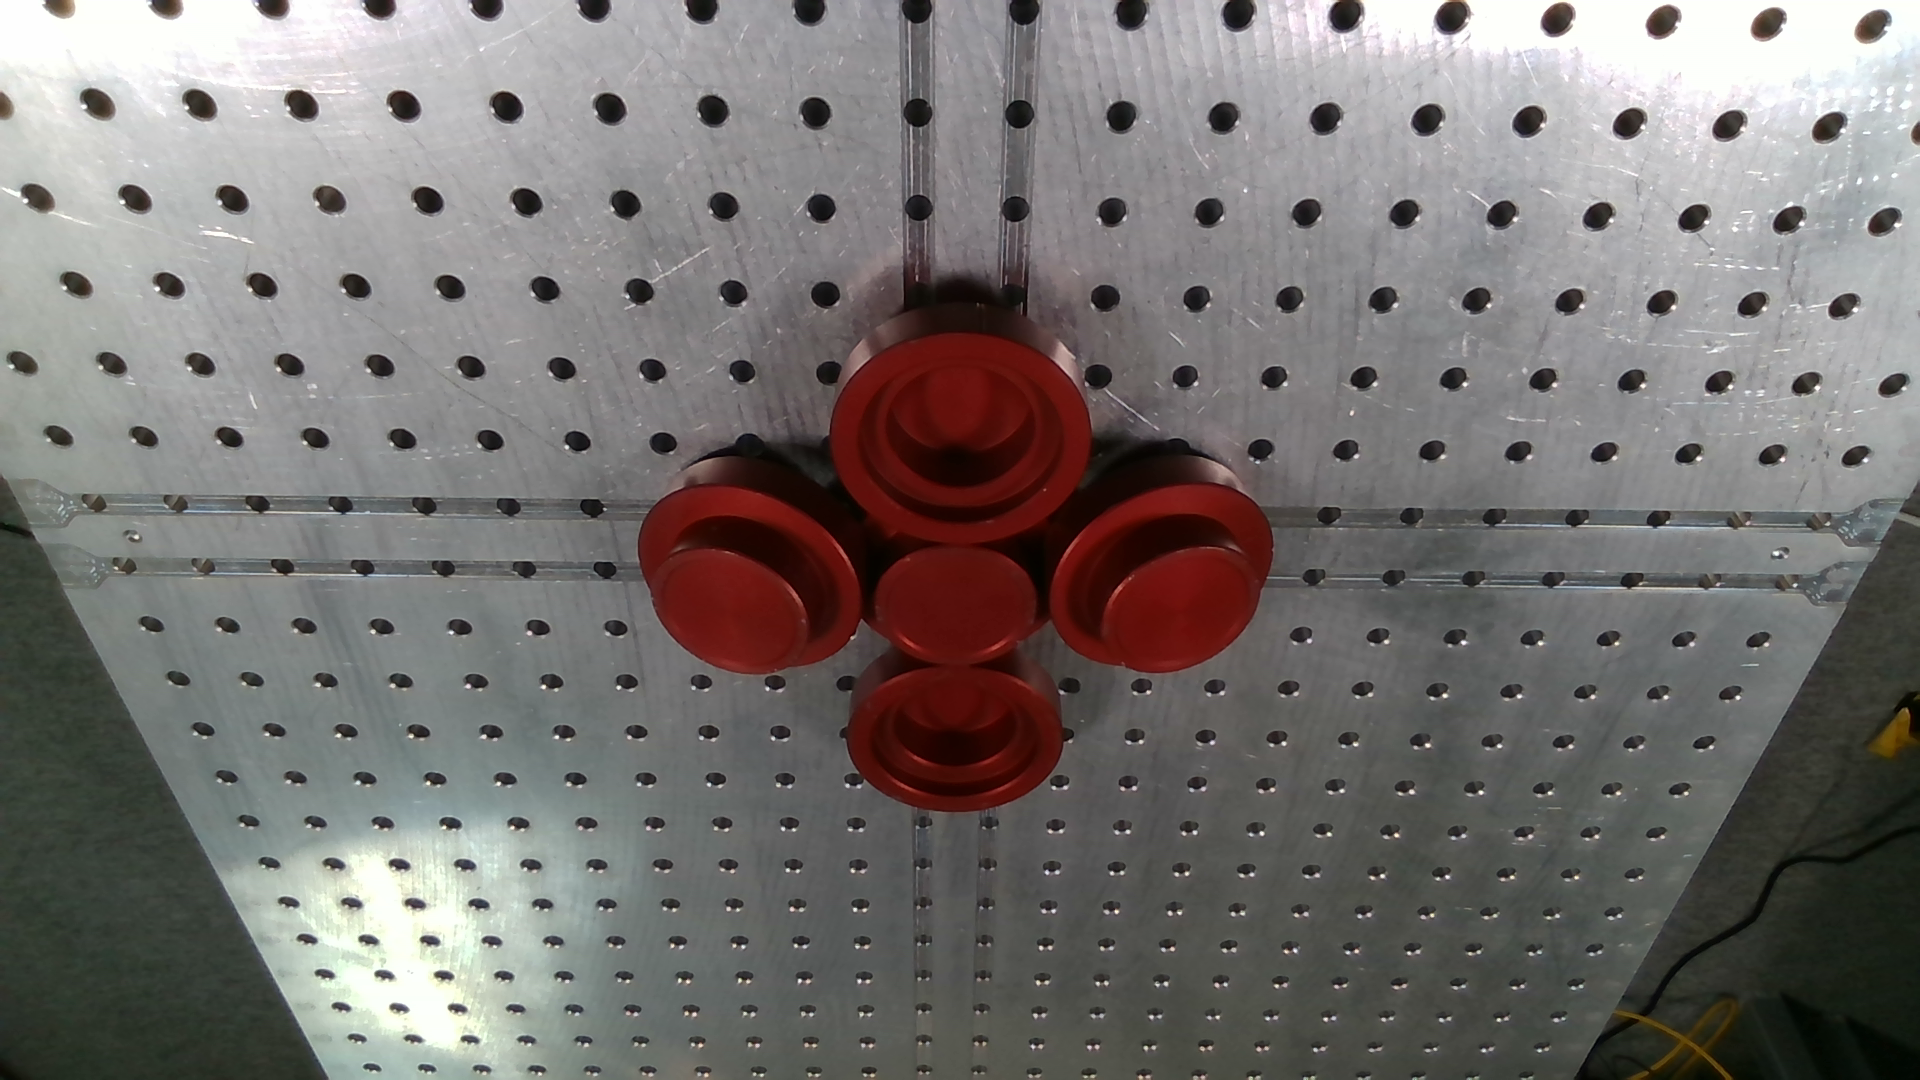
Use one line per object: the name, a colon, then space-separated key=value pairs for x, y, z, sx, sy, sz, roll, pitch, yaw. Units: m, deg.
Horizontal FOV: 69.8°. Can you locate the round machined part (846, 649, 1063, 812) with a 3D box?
round machined part: x=-0.003 y=0.079 z=0.637 sx=0.098 sy=0.042 sz=0.098 roll=0 pitch=130 yaw=0

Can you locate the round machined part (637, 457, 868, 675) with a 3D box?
round machined part: x=-0.089 y=0.017 z=0.570 sx=0.098 sy=0.042 sz=0.098 roll=9 pitch=131 yaw=11

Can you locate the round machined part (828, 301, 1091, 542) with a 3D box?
round machined part: x=0.000 y=-0.049 z=0.529 sx=0.098 sy=0.042 sz=0.098 roll=0 pitch=130 yaw=0

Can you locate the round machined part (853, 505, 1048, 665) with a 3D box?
round machined part: x=-0.002 y=0.015 z=0.582 sx=0.098 sy=0.042 sz=0.098 roll=0 pitch=130 yaw=0

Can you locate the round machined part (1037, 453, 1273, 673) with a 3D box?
round machined part: x=0.084 y=0.016 z=0.570 sx=0.098 sy=0.042 sz=0.098 roll=-9 pitch=129 yaw=-11
